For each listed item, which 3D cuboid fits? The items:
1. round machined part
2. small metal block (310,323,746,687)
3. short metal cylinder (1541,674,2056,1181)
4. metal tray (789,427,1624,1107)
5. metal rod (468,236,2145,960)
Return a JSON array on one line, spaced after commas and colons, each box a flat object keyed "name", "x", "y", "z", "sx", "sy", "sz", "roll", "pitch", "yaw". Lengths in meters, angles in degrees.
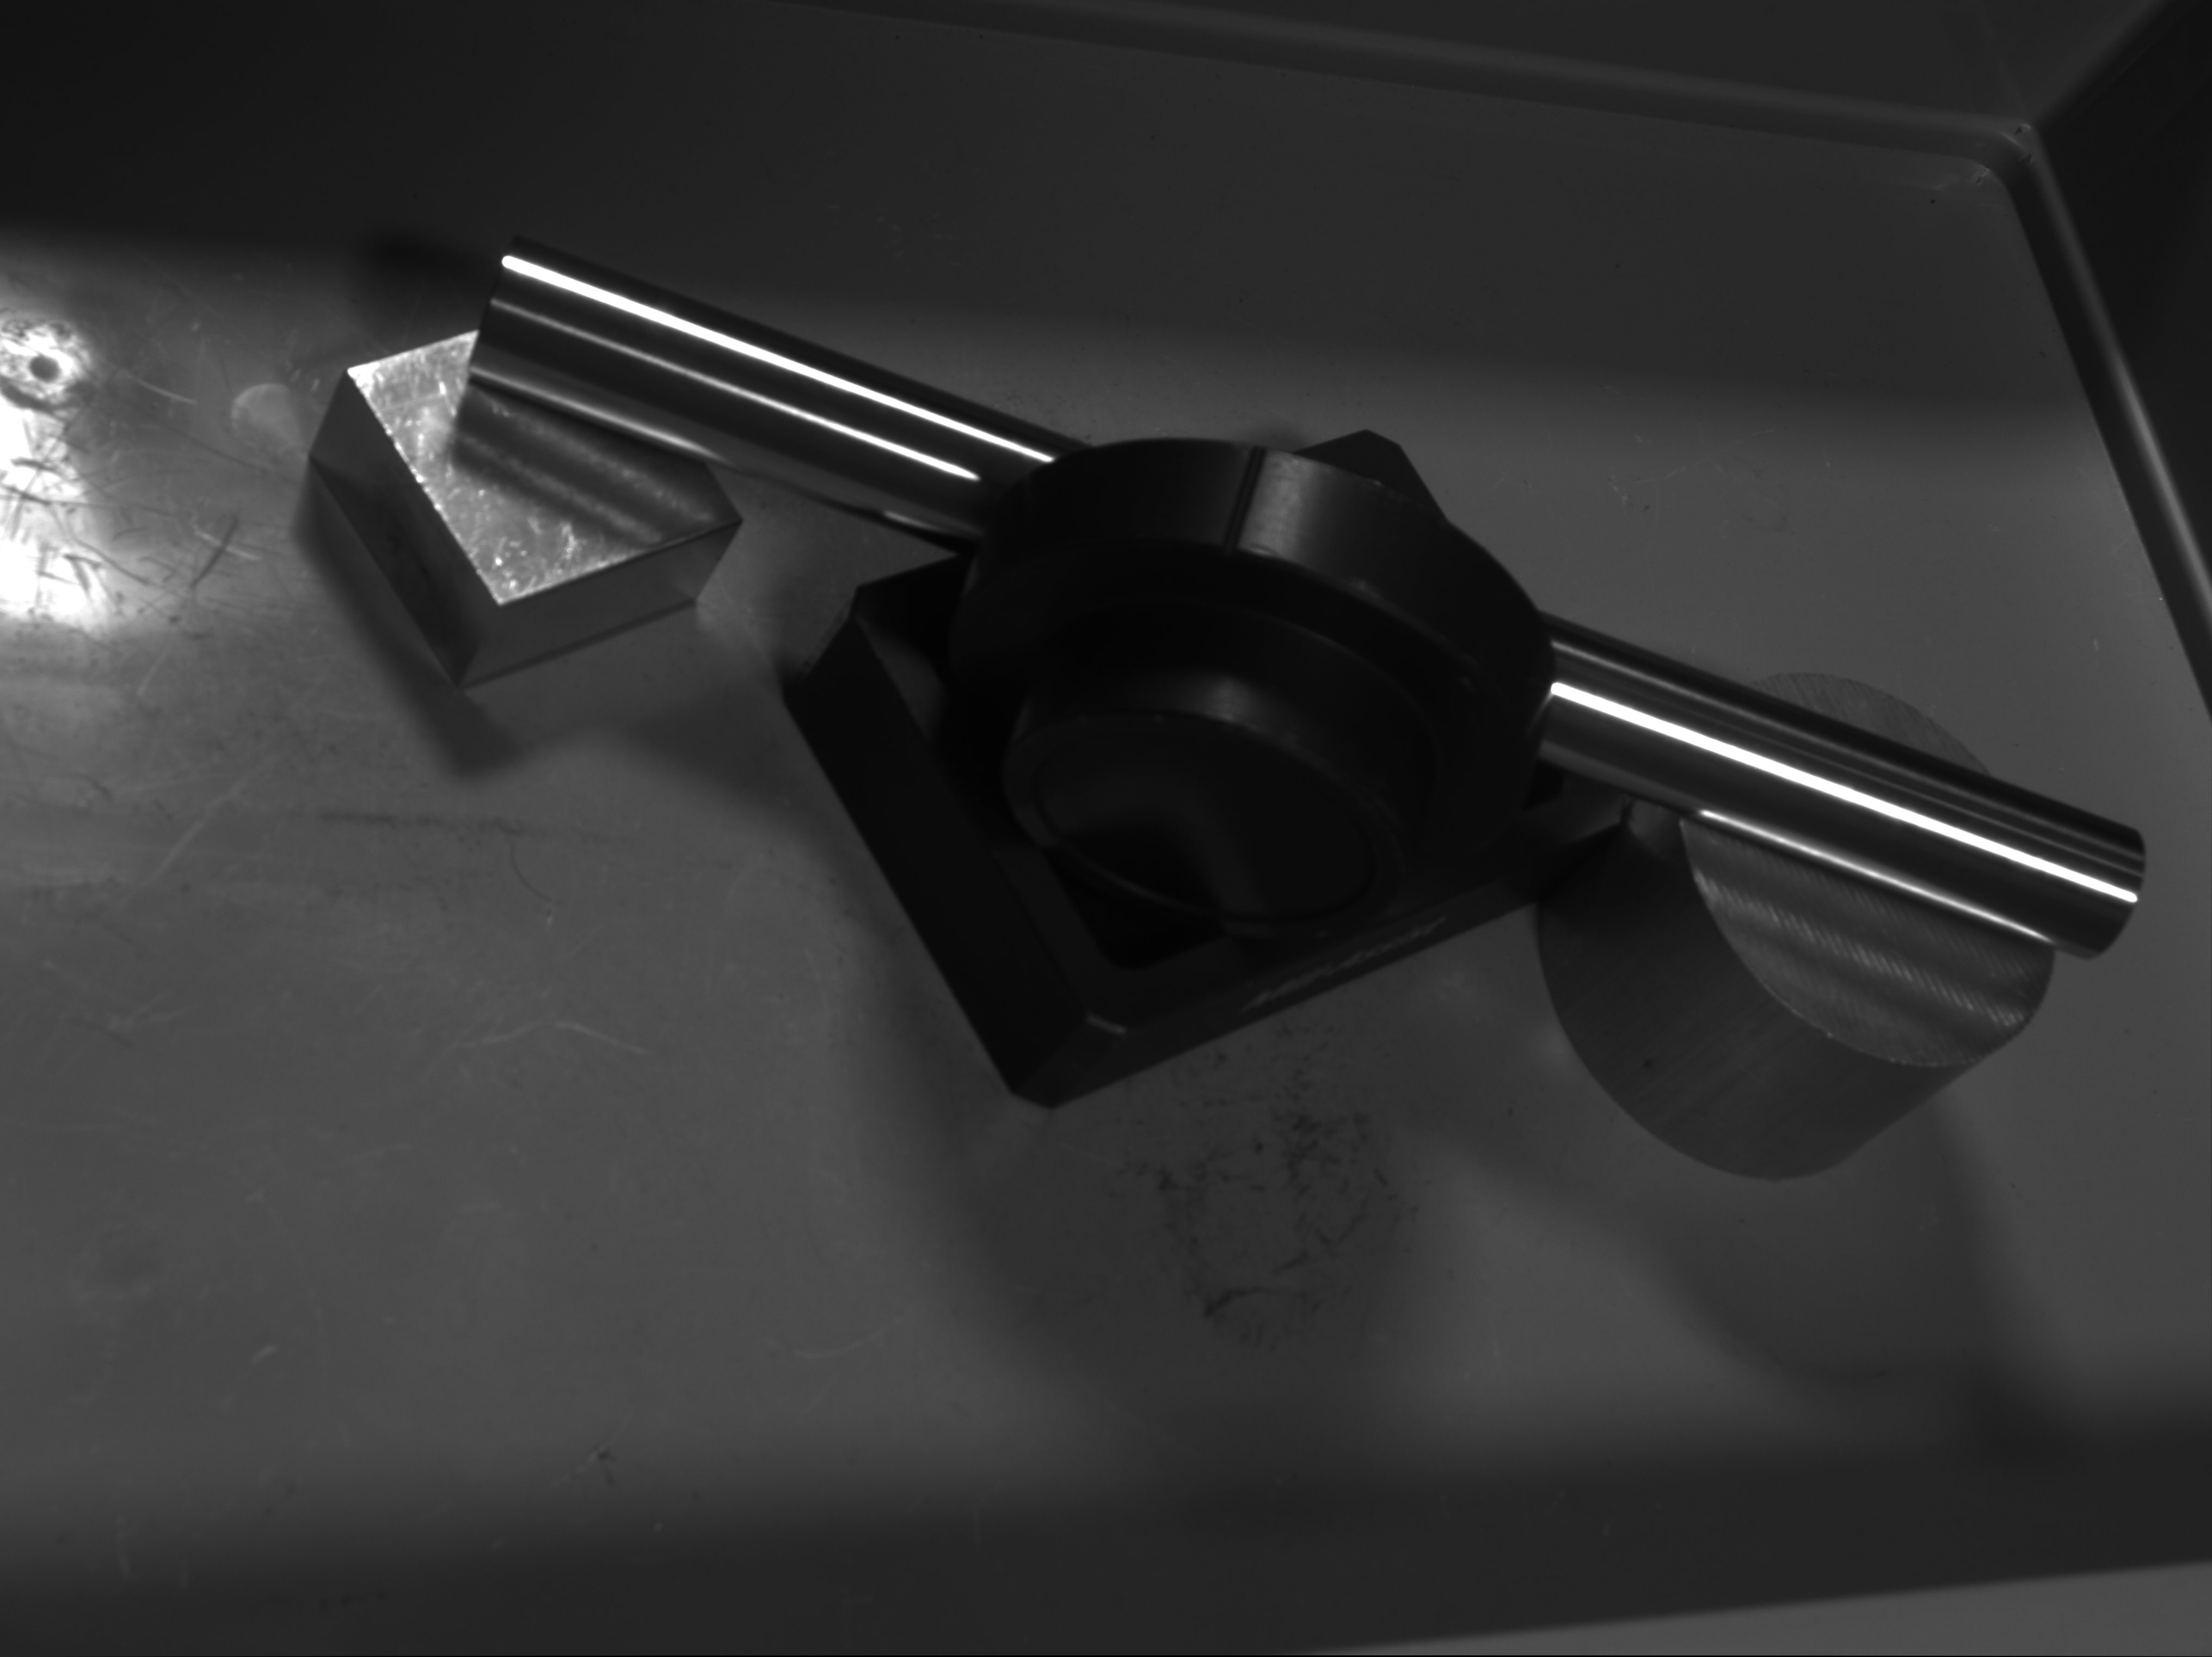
[{"name": "round machined part", "x": 0.021, "y": -0.017, "z": 0.597, "sx": 0.098, "sy": 0.098, "sz": 0.042, "roll": 25, "pitch": 60, "yaw": -13}, {"name": "small metal block", "x": -0.098, "y": -0.058, "z": 0.621, "sx": 0.050, "sy": 0.025, "sz": 0.050, "roll": -24, "pitch": 75, "yaw": -36}, {"name": "short metal cylinder", "x": 0.128, "y": 0.019, "z": 0.680, "sx": 0.080, "sy": 0.050, "sz": 0.080, "roll": 14, "pitch": 56, "yaw": -21}, {"name": "metal tray", "x": 0.020, "y": -0.014, "z": 0.654, "sx": 0.130, "sy": 0.030, "sz": 0.090, "roll": -21, "pitch": 73, "yaw": -36}, {"name": "metal rod", "x": 0.039, "y": -0.037, "z": 0.629, "sx": 0.300, "sy": 0.025, "sz": 0.025, "roll": 19, "pitch": 54, "yaw": -9}]
